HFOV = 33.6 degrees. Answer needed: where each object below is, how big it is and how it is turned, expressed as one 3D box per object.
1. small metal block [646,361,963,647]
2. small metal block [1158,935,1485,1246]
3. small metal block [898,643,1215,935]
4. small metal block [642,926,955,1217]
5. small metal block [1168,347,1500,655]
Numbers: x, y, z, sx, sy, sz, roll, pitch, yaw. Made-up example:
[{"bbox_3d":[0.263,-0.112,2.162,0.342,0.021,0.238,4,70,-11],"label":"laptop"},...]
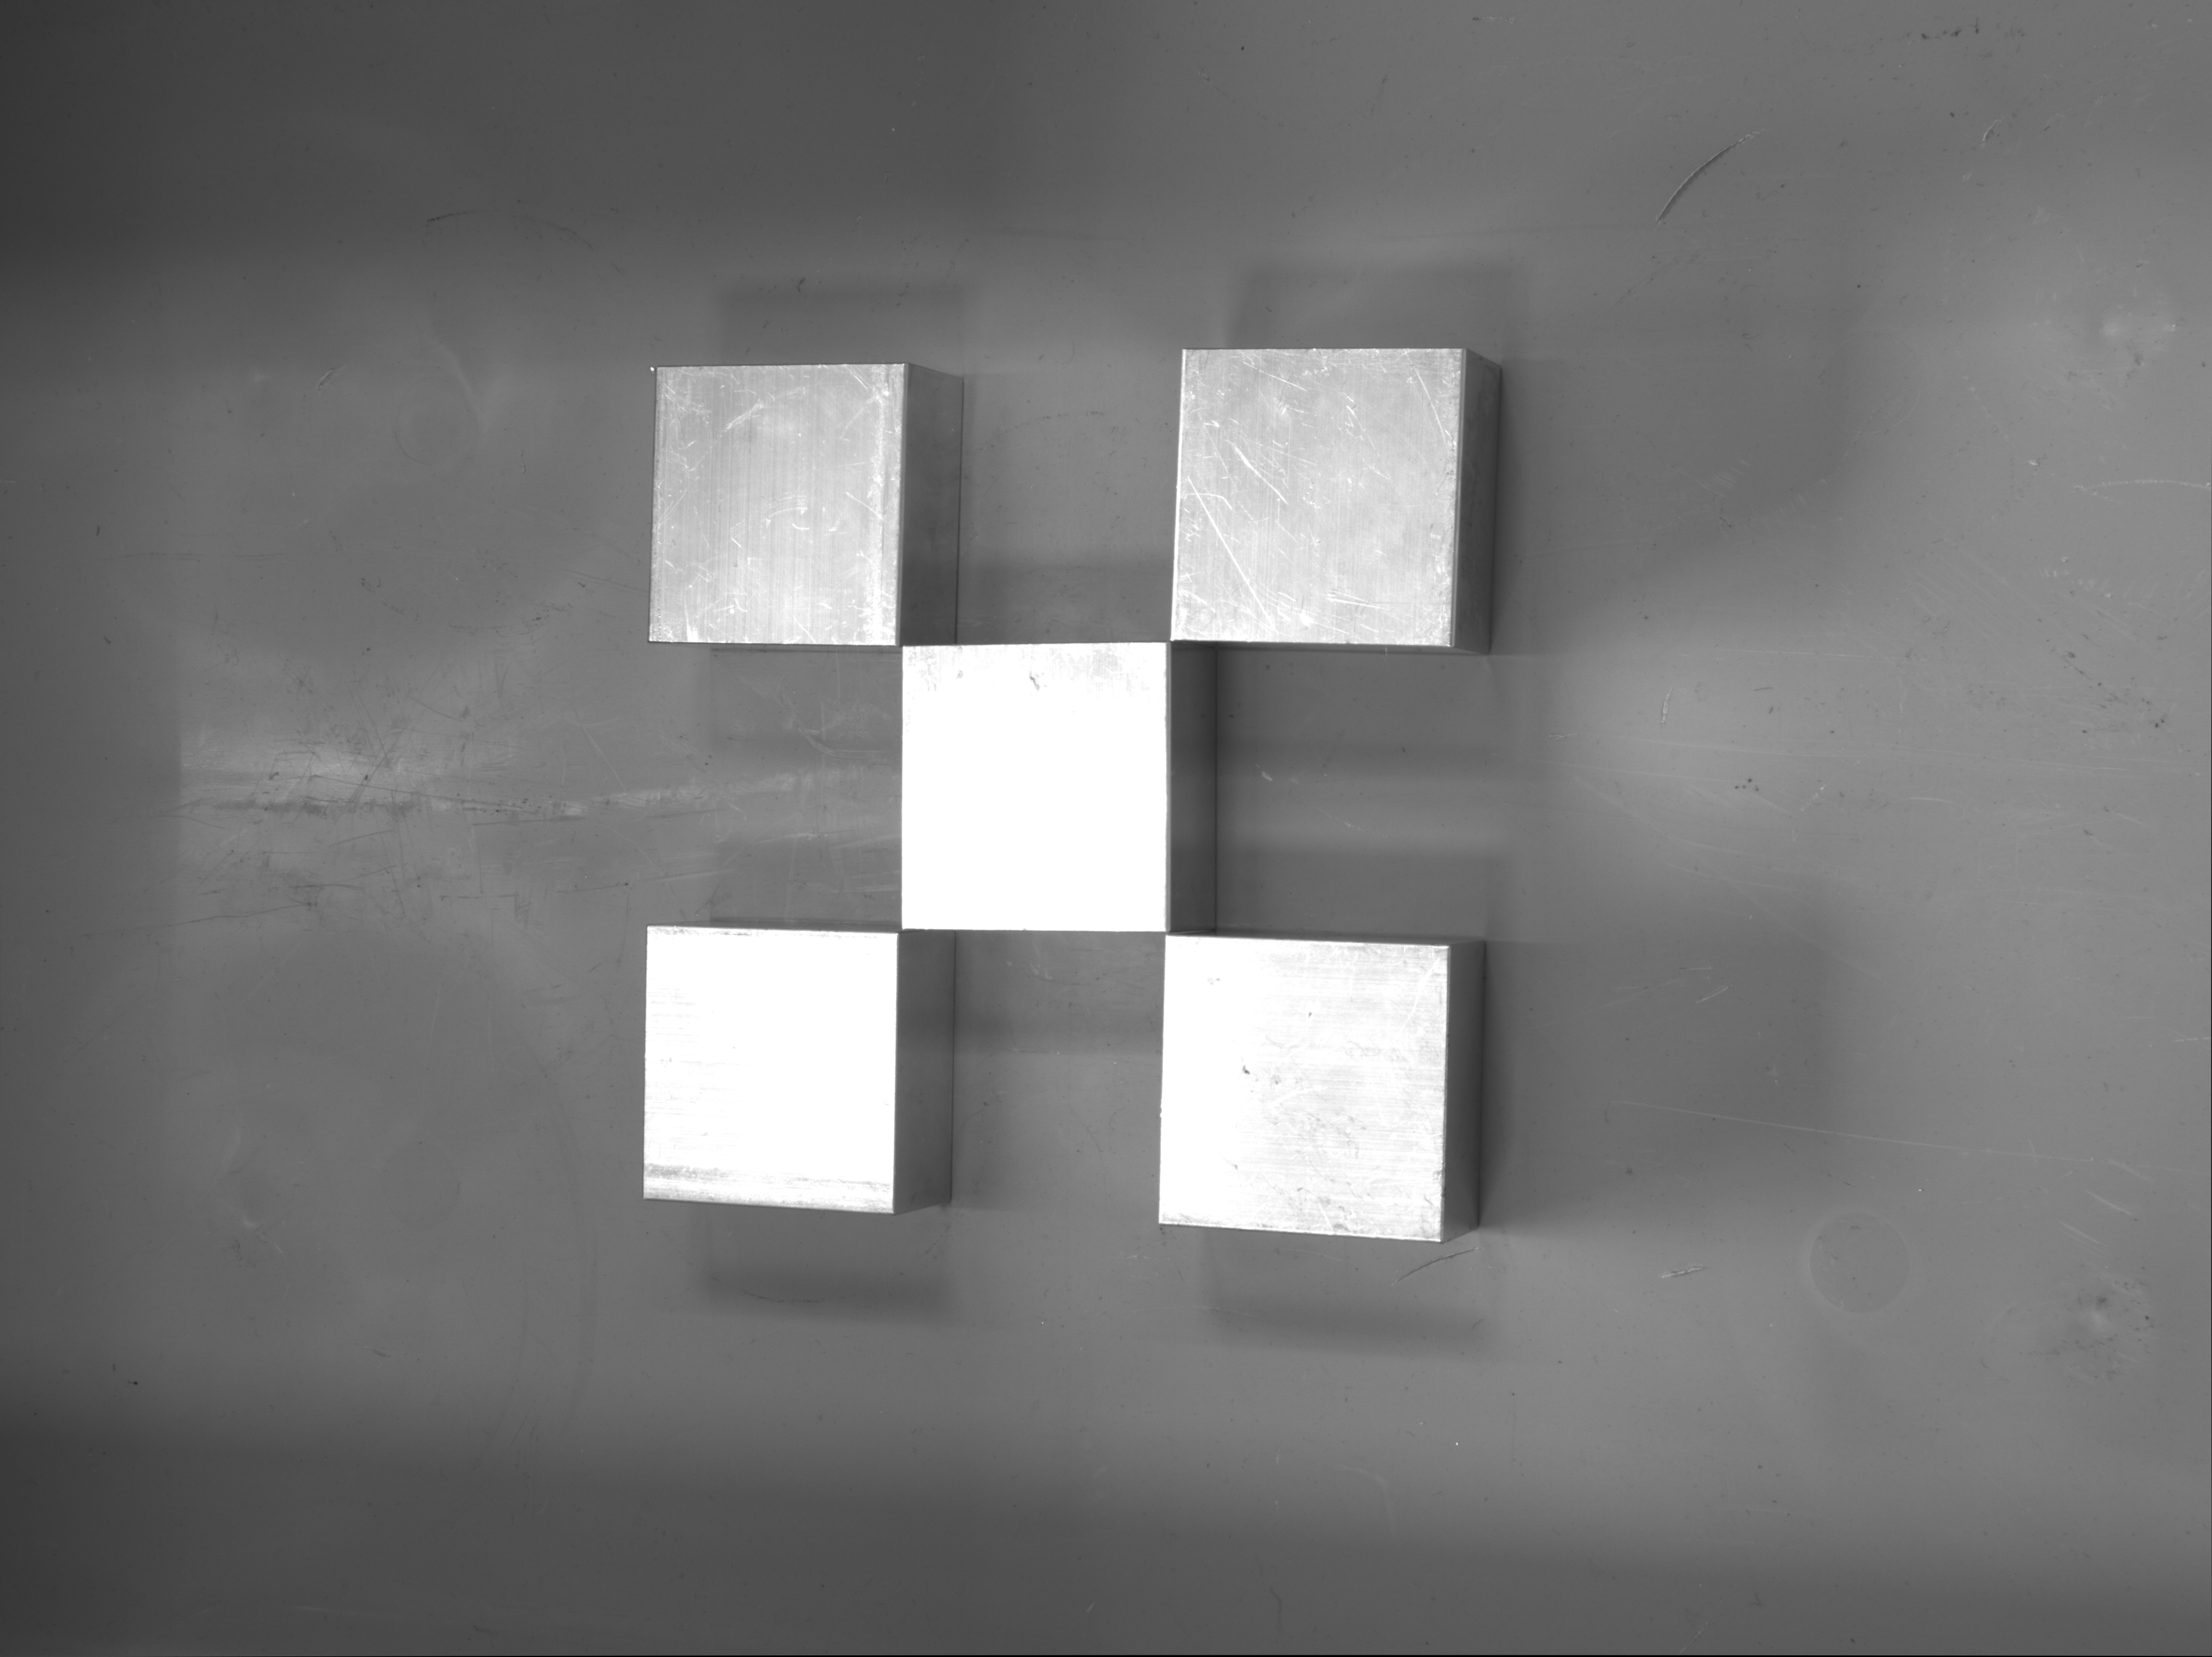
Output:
[{"bbox_3d":[-0.054,-0.058,0.664,0.050,0.025,0.050,2,90,20],"label":"small metal block"},{"bbox_3d":[0.037,0.044,0.631,0.050,0.025,0.050,1,90,20],"label":"small metal block"},{"bbox_3d":[-0.009,-0.007,0.647,0.050,0.025,0.050,0,90,20],"label":"small metal block"},{"bbox_3d":[-0.056,0.043,0.665,0.050,0.025,0.050,1,90,20],"label":"small metal block"},{"bbox_3d":[0.039,-0.056,0.630,0.050,0.025,0.050,3,91,20],"label":"small metal block"}]
